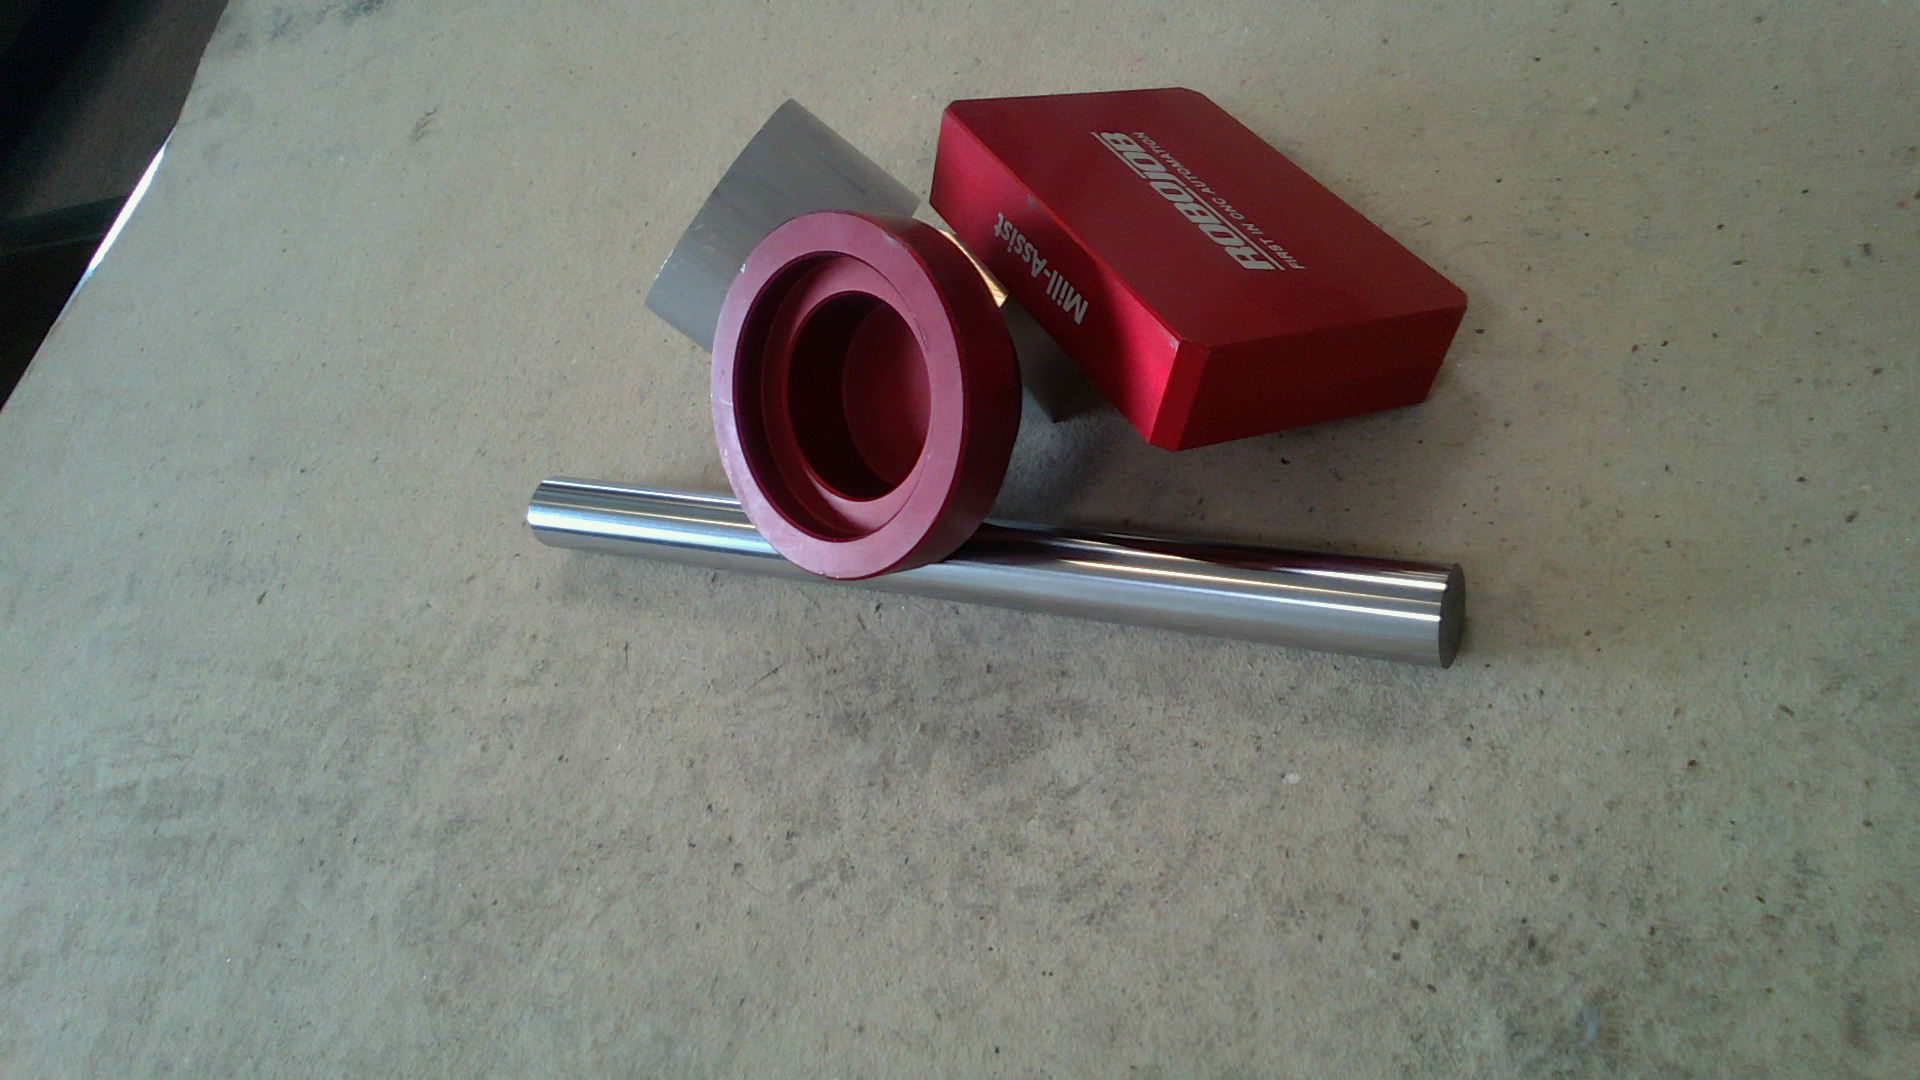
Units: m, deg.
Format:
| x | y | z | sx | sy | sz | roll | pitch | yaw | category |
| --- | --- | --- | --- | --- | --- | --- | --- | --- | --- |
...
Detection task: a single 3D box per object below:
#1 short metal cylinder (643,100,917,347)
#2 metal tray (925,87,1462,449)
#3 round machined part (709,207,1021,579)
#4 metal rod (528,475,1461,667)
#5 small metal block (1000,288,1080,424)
| x | y | z | sx | sy | sz | roll | pitch | yaw | category |
| --- | --- | --- | --- | --- | --- | --- | --- | --- | --- |
| -0.057 | -0.092 | 0.440 | 0.080 | 0.050 | 0.080 | -51 | 11 | 14 | short metal cylinder |
| 0.059 | -0.081 | 0.376 | 0.090 | 0.030 | 0.130 | -12 | 45 | -27 | metal tray |
| -0.022 | -0.040 | 0.380 | 0.098 | 0.042 | 0.098 | 7 | 101 | 40 | round machined part |
| -0.012 | 0.003 | 0.399 | 0.299 | 0.025 | 0.025 | 6 | 65 | 31 | metal rod |
| 0.005 | -0.066 | 0.414 | 0.050 | 0.050 | 0.025 | 26 | 76 | 37 | small metal block |
